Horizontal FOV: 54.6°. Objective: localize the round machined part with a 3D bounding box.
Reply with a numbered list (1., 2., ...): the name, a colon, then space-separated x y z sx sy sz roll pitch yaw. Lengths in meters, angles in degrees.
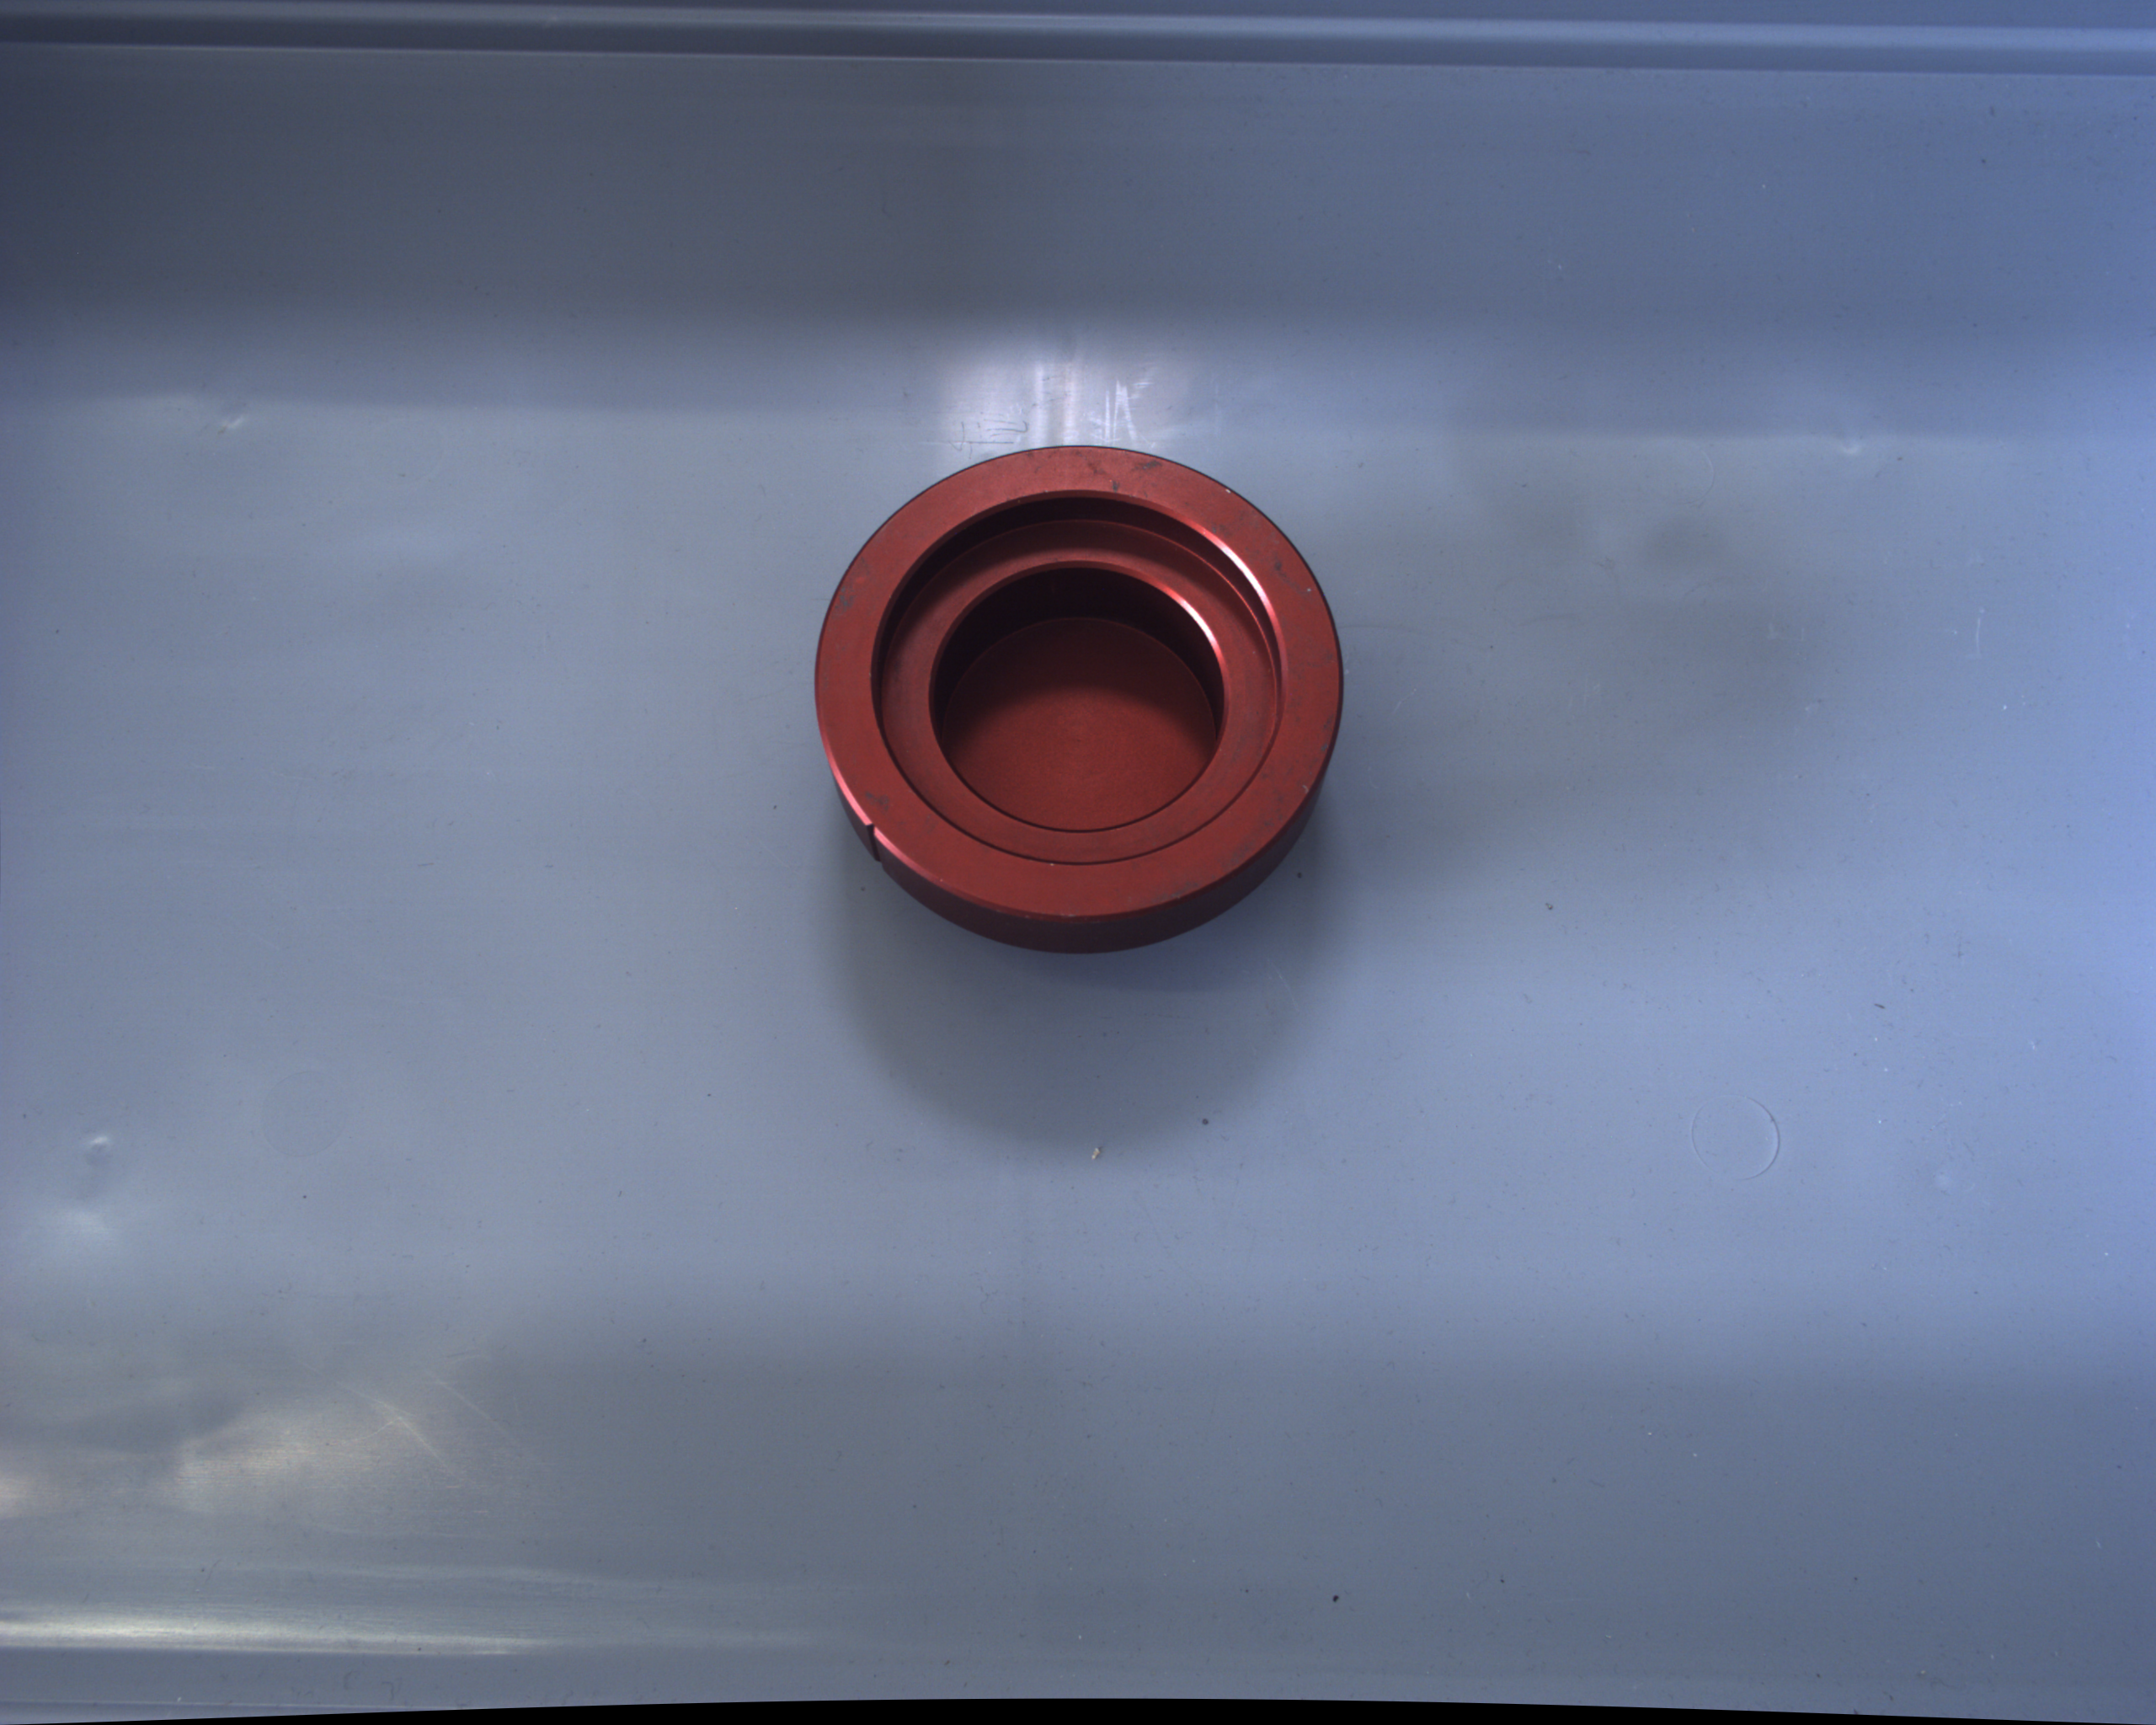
1. round machined part: 0.000 -0.028 0.408 0.099 0.042 0.098 0 70 0
